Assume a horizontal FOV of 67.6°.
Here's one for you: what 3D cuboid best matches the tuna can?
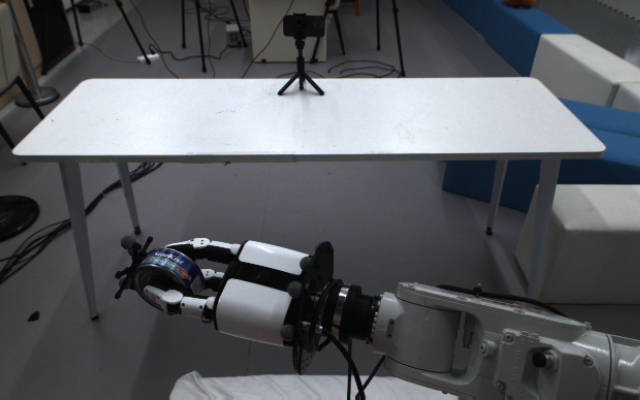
[{"bbox_3d":[-0.191,0.106,0.616,0.085,0.085,0.034,9,36,9],"label":"tuna can"}]
